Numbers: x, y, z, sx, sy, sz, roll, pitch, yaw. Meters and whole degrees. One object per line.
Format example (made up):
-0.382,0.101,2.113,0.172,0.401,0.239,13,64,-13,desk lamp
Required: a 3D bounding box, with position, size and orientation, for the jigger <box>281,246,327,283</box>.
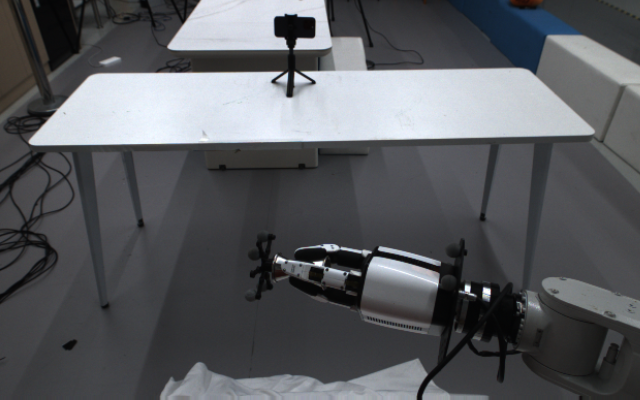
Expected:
-0.017,0.088,0.625,0.071,0.043,0.043,4,34,15,jigger
